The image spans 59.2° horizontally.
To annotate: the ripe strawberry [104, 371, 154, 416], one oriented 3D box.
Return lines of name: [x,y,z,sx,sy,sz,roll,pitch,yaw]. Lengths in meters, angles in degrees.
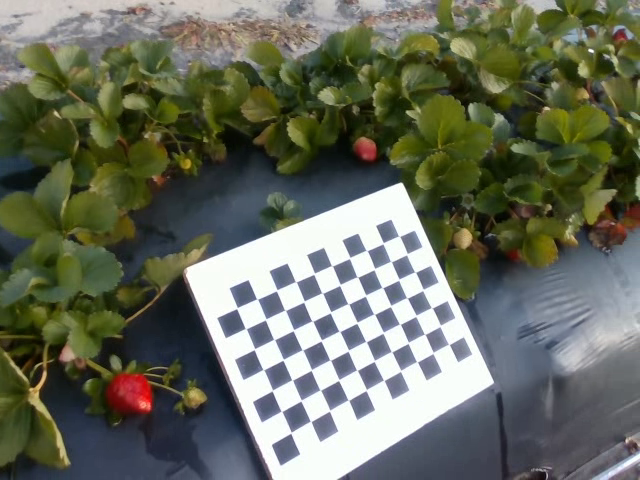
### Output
ripe strawberry: [-0.184,0.157,0.558,0.057,0.043,0.052,17,-28,52]
